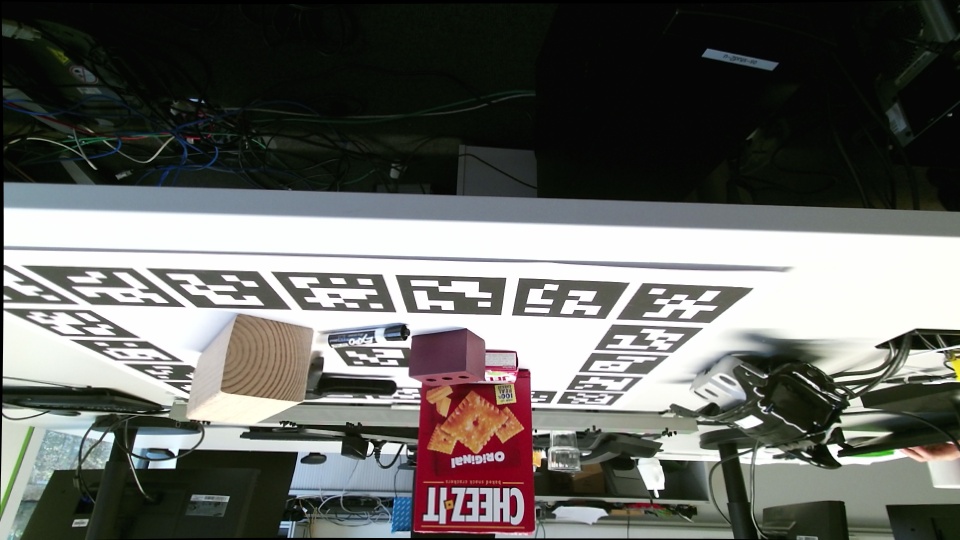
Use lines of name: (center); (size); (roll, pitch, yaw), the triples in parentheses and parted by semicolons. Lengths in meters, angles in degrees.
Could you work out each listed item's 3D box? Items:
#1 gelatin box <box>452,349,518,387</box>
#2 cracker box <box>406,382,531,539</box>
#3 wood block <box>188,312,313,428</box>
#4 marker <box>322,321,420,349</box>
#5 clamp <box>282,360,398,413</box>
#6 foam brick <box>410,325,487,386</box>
gelatin box: (0.004, 0.133, 0.716); (0.090, 0.030, 0.073); (0, 149, 1)
cracker box: (-0.011, 0.267, 0.755); (0.165, 0.212, 0.072); (0, 152, 4)
wood block: (-0.289, 0.132, 0.661); (0.090, 0.090, 0.206); (17, 149, -32)
marker: (-0.126, 0.075, 0.618); (0.121, 0.019, 0.020); (-10, 148, 17)
clamp: (-0.251, 0.185, 0.803); (0.203, 0.036, 0.166); (-16, 146, 26)
foam brick: (-0.036, 0.104, 0.637); (0.078, 0.051, 0.053); (-12, 147, 21)
